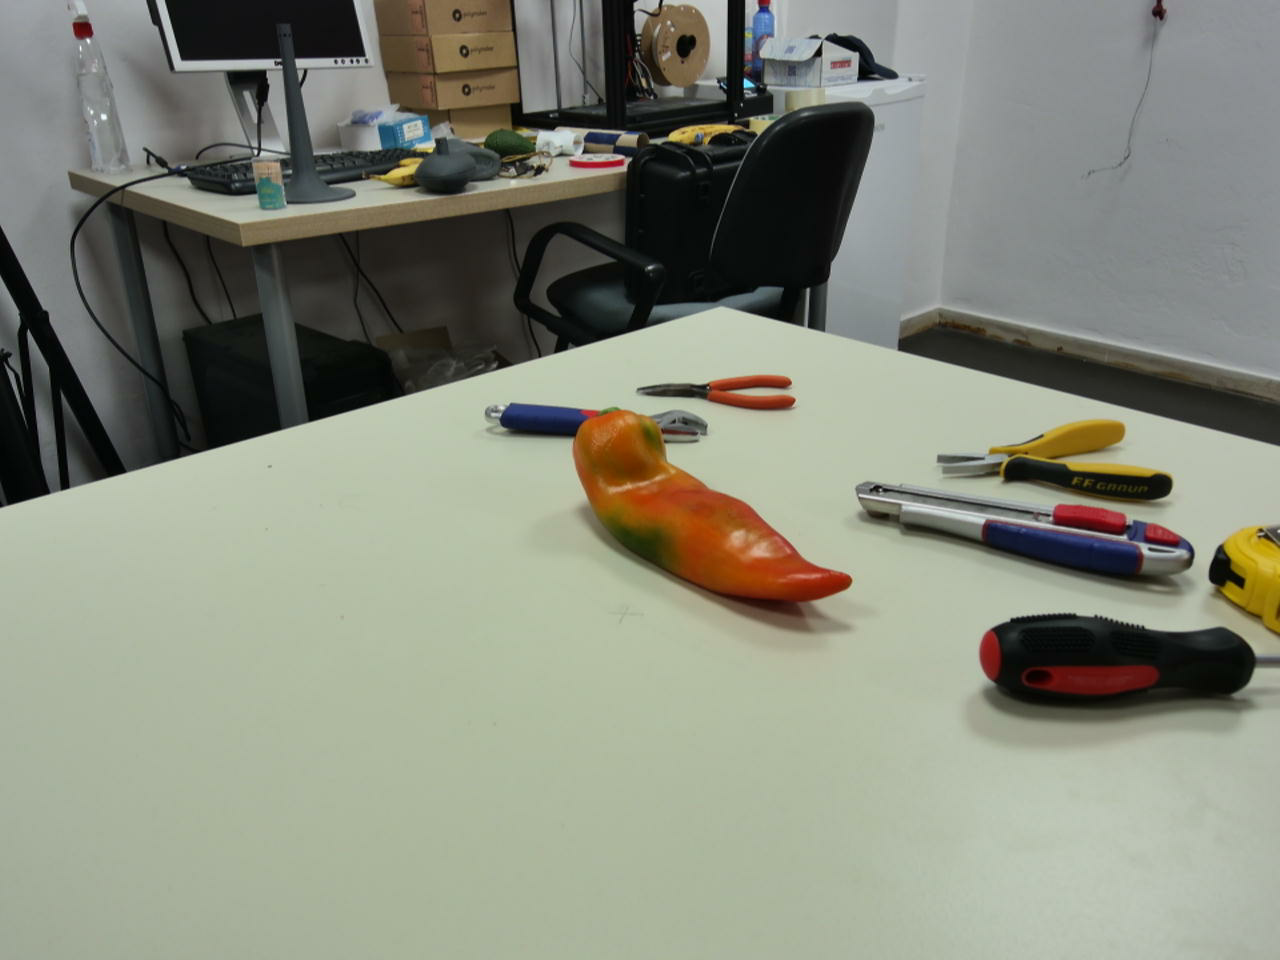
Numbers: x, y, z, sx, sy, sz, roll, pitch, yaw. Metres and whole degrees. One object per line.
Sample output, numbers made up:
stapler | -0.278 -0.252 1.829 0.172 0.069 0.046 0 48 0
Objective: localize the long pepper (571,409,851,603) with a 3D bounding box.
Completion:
long pepper | 0.032 0.014 0.539 0.066 0.065 0.199 -16 28 -33
